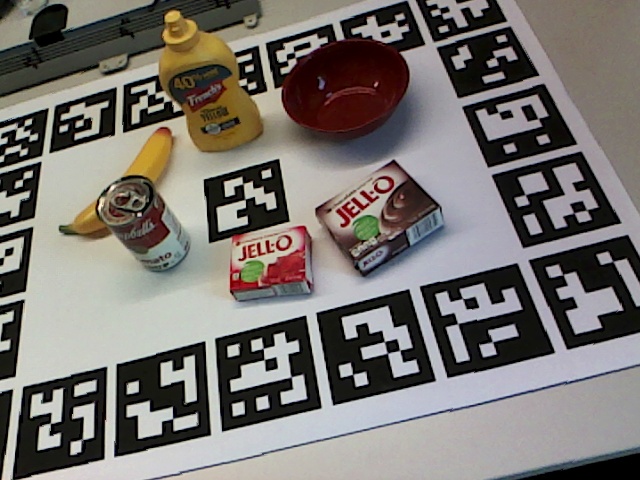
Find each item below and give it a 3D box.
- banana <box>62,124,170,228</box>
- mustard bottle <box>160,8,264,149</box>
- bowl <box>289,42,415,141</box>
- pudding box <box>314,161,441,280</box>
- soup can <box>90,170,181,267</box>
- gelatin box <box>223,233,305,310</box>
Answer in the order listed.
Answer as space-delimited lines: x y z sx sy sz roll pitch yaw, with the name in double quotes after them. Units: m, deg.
-0.257 -0.083 0.822 0.075 0.038 0.197 20 64 37 "banana"
-0.140 -0.198 0.758 0.096 0.190 0.058 -13 52 6 "mustard bottle"
0.044 -0.180 0.794 0.162 0.055 0.162 -9 55 12 "bowl"
0.064 -0.022 0.690 0.114 0.038 0.090 -34 60 -7 "pudding box"
-0.211 -0.023 0.720 0.068 0.101 0.068 -7 54 9 "soup can"
-0.063 0.035 0.694 0.089 0.030 0.073 -8 59 11 "gelatin box"
